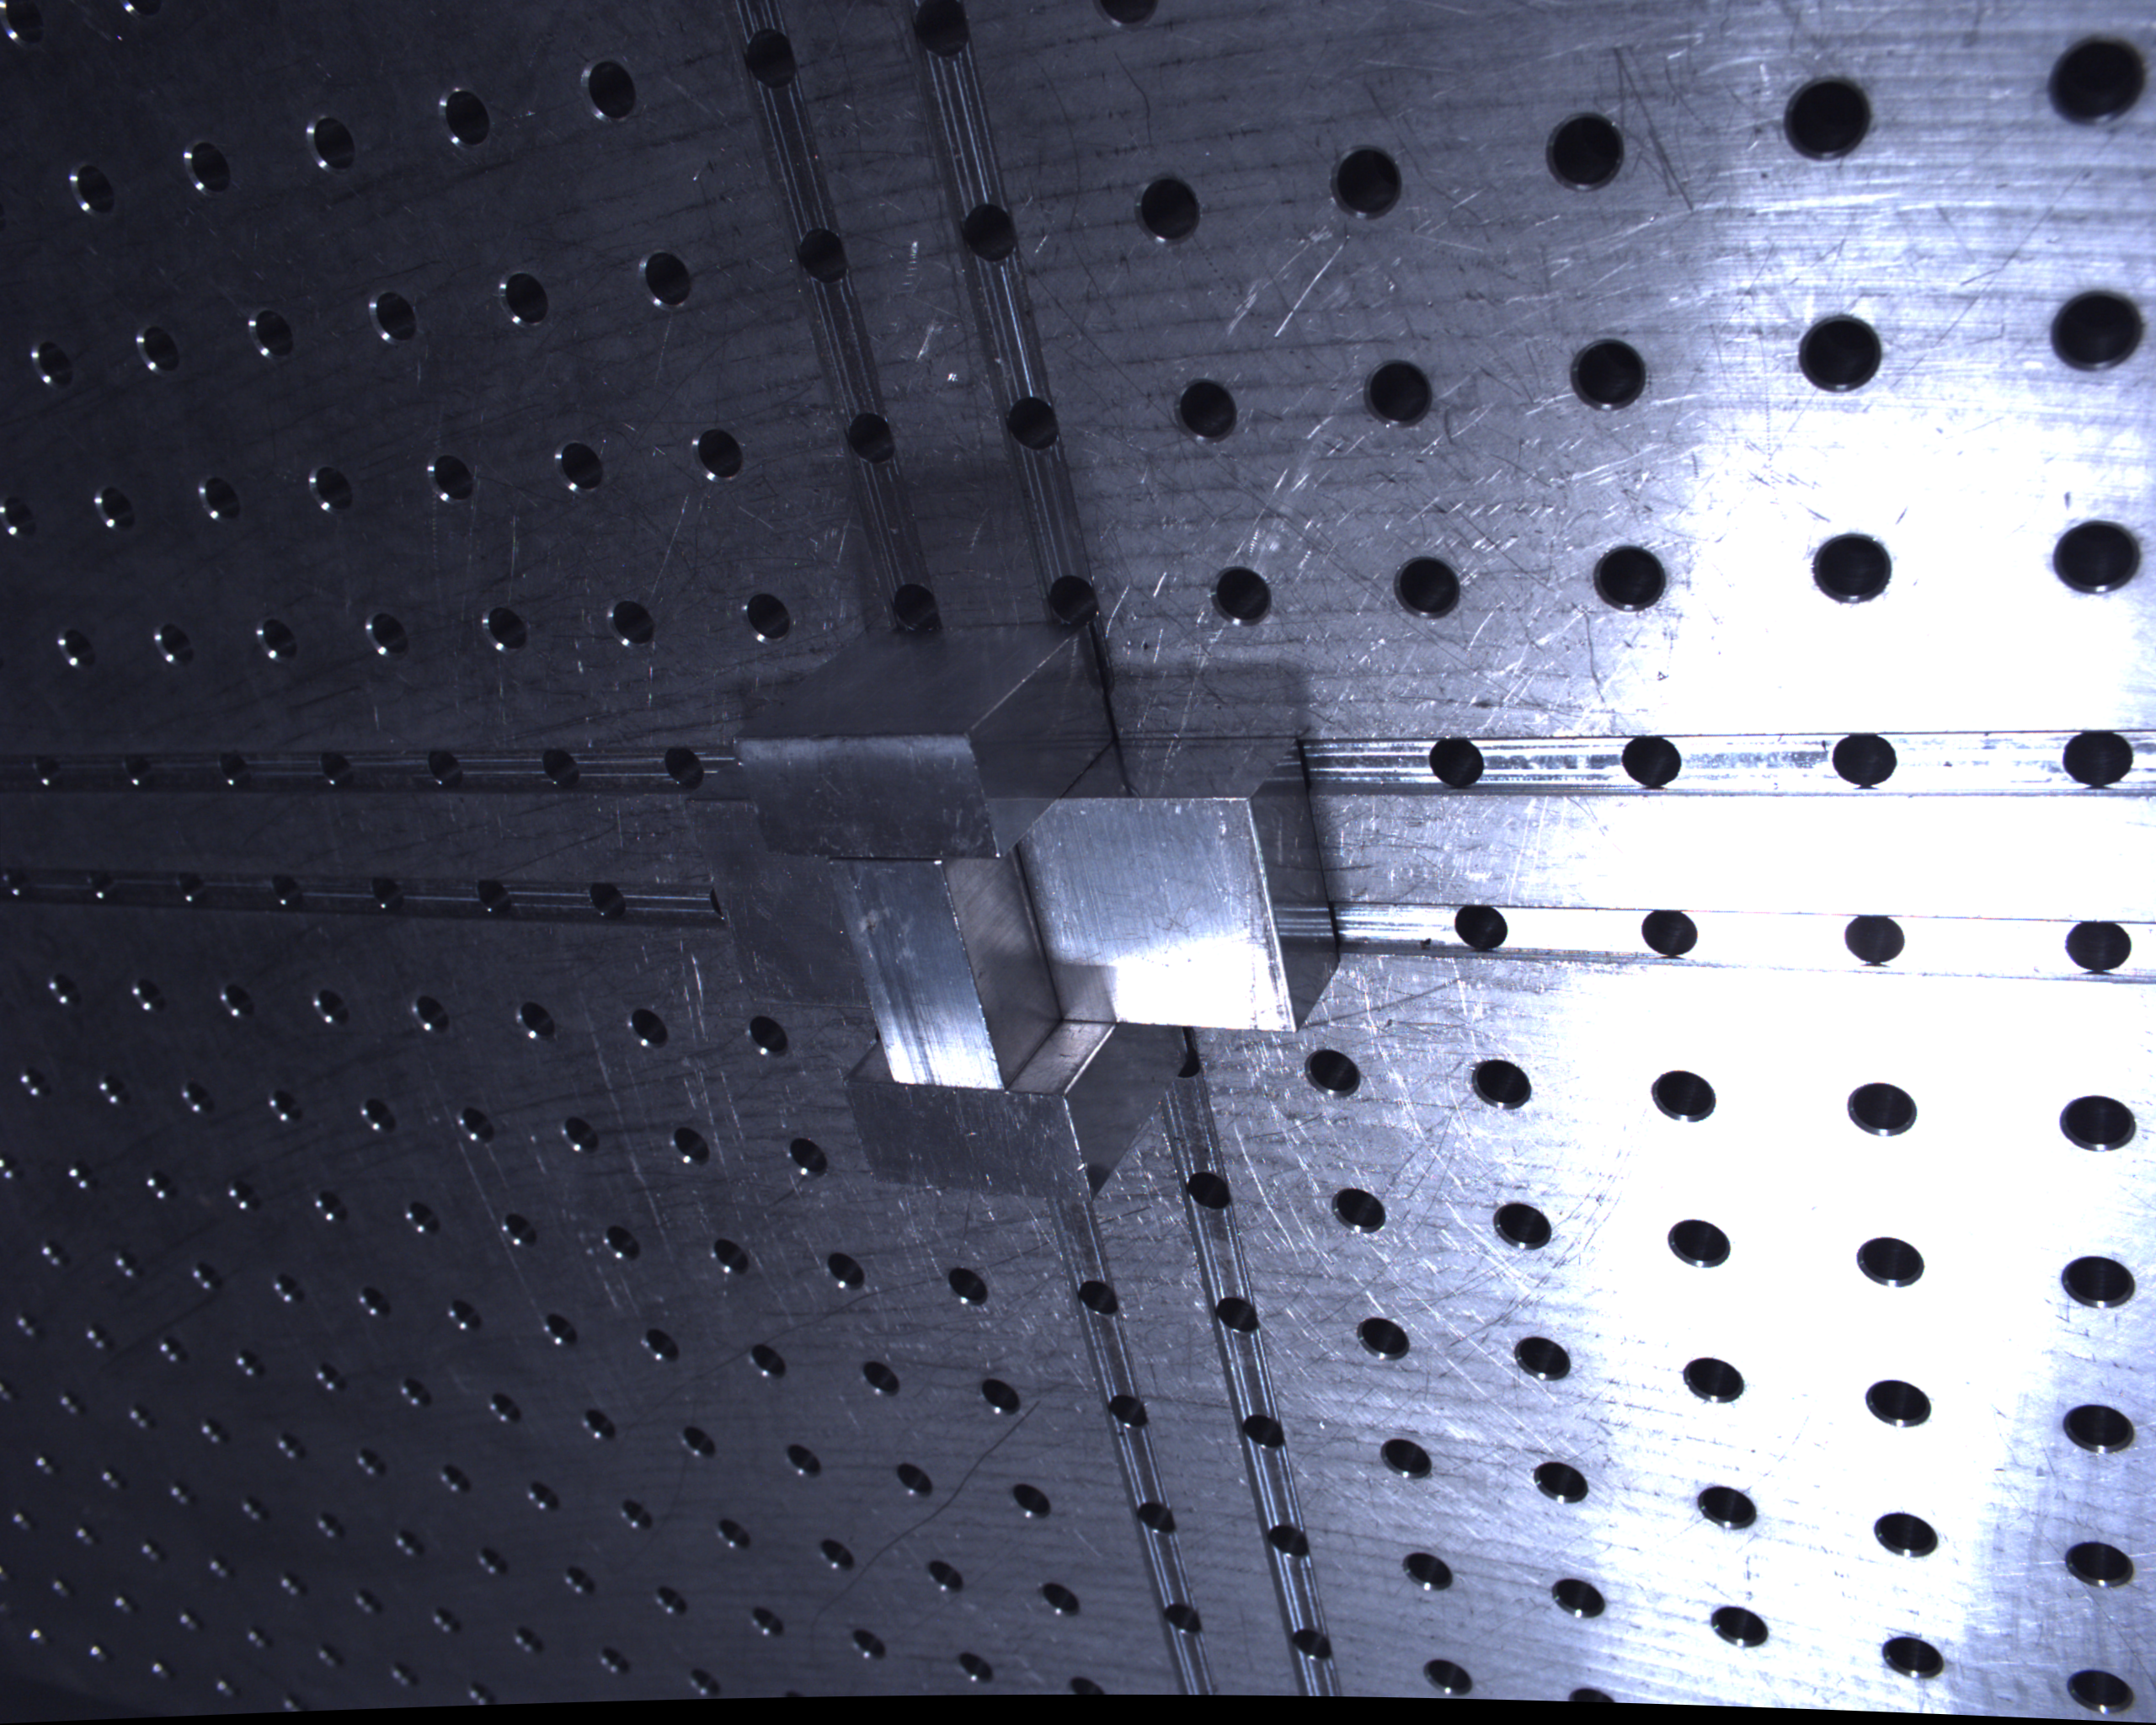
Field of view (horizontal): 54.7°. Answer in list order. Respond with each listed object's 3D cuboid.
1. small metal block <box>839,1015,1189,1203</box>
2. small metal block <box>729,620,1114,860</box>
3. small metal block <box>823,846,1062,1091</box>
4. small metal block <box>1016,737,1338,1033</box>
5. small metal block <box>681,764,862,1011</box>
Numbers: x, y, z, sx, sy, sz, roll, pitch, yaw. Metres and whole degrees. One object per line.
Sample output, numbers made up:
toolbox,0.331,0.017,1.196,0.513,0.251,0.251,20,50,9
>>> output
small metal block,-0.012,0.042,0.426,0.050,0.050,0.025,1,119,27
small metal block,-0.028,-0.024,0.393,0.050,0.050,0.025,1,119,27
small metal block,-0.020,0.009,0.409,0.025,0.050,0.050,1,119,27
small metal block,0.019,0.004,0.402,0.050,0.025,0.050,1,119,27
small metal block,-0.048,0.003,0.437,0.050,0.025,0.050,1,119,27
